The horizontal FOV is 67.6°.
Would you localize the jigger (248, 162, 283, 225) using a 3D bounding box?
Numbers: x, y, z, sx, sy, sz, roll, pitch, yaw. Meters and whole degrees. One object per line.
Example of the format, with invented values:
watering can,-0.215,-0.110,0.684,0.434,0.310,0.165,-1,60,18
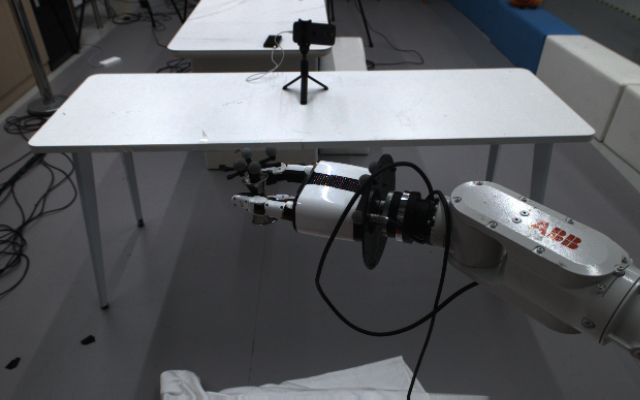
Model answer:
jigger,-0.086,-0.004,0.720,0.043,0.071,0.043,-10,24,5
